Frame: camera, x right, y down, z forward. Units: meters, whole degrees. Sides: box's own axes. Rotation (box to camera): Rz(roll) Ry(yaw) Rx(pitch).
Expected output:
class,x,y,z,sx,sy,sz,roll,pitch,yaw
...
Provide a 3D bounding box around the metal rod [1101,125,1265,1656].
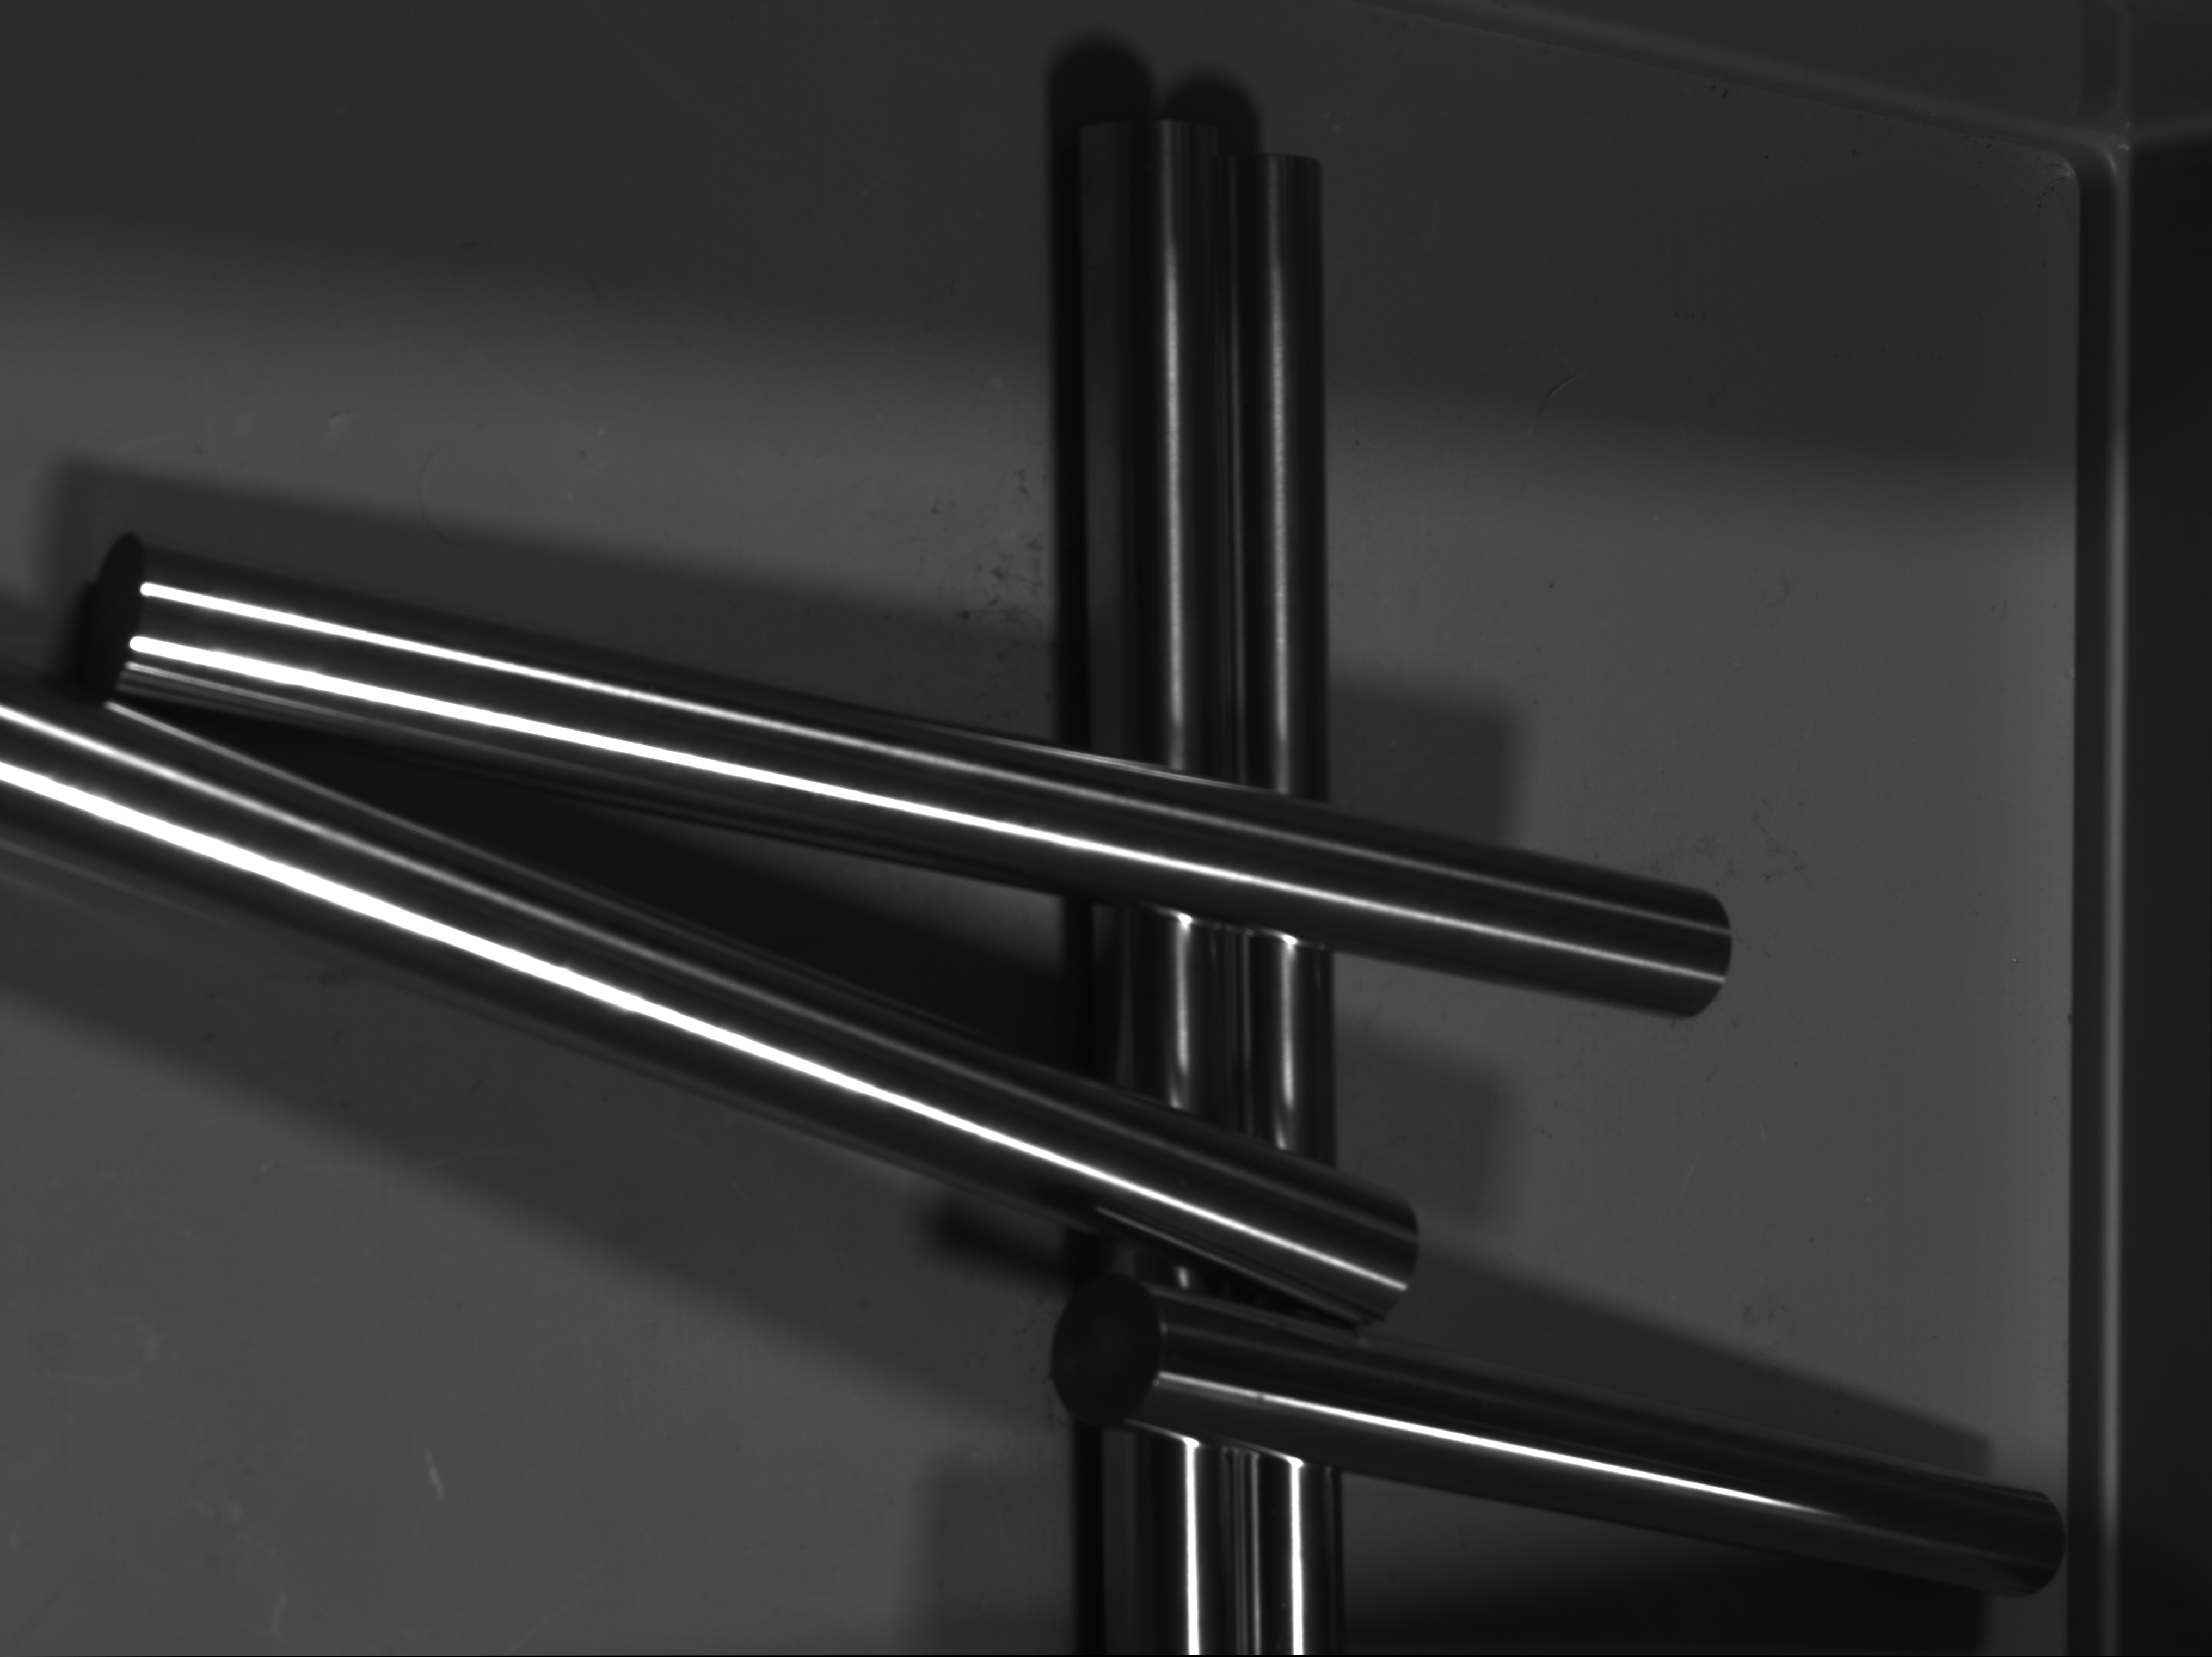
class,x,y,z,sx,sy,sz,roll,pitch,yaw
metal rod,0.014,0.029,0.645,0.025,0.025,0.300,-1,91,-40

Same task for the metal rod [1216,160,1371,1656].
class,x,y,z,sx,sy,sz,roll,pitch,yaw
metal rod,0.034,0.031,0.662,0.025,0.025,0.300,-1,91,-40

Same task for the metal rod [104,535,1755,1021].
class,x,y,z,sx,sy,sz,roll,pitch,yaw
metal rod,-0.013,-0.003,0.600,0.301,0.025,0.025,12,82,-32

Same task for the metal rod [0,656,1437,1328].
class,x,y,z,sx,sy,sz,roll,pitch,yaw
metal rod,-0.068,0.026,0.563,0.301,0.025,0.025,23,75,-32

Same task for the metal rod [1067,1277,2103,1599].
class,x,y,z,sx,sy,sz,roll,pitch,yaw
metal rod,0.105,0.121,0.701,0.301,0.025,0.025,19,78,-44
